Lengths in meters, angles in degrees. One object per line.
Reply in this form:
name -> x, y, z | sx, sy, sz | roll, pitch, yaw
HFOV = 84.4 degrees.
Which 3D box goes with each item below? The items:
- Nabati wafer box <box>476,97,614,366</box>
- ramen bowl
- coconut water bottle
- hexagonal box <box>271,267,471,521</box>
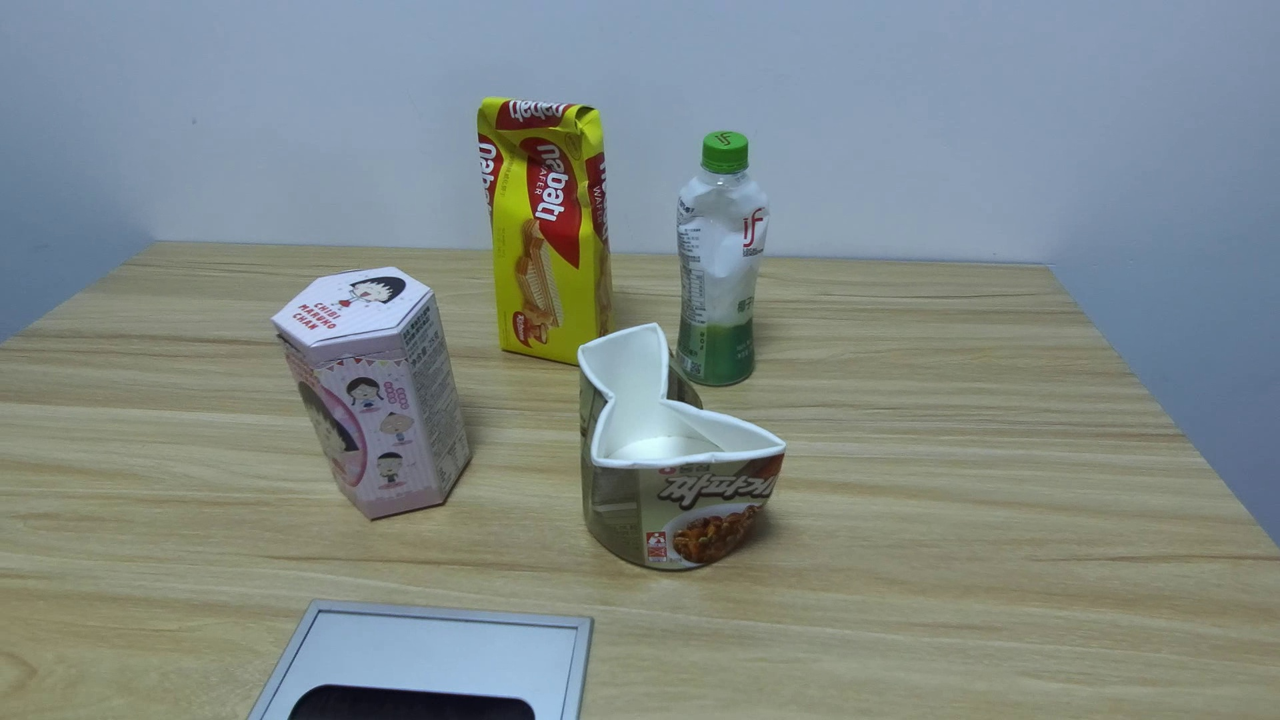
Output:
Nabati wafer box -> -0.071, -0.093, 0.545 | 0.113, 0.205, 0.042 | 10, 35, 18
ramen bowl -> 0.017, 0.050, 0.431 | 0.112, 0.093, 0.128 | -7, 36, -6
coconut water bottle -> 0.059, -0.072, 0.520 | 0.069, 0.187, 0.069 | 0, 34, 0
hexagonal box -> -0.163, 0.023, 0.444 | 0.091, 0.136, 0.084 | 27, 44, 34
